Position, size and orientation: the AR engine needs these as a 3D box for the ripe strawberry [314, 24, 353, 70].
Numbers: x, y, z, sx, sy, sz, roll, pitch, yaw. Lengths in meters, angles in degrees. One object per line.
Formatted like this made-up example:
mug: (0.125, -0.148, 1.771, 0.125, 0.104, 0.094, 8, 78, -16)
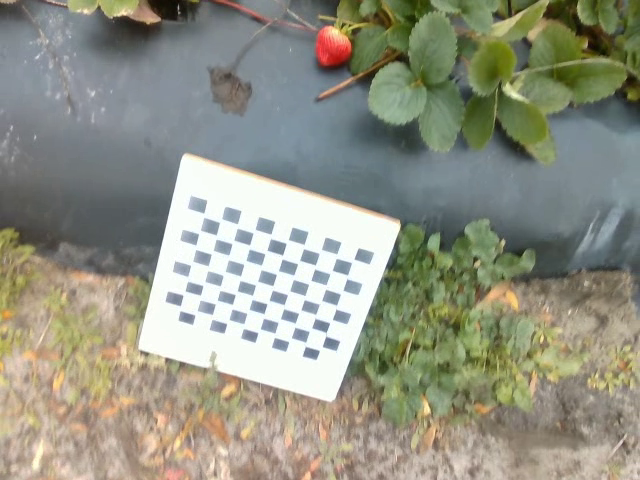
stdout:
ripe strawberry: (0.011, -0.281, 0.818, 0.061, 0.065, 0.050, 26, 11, -12)
